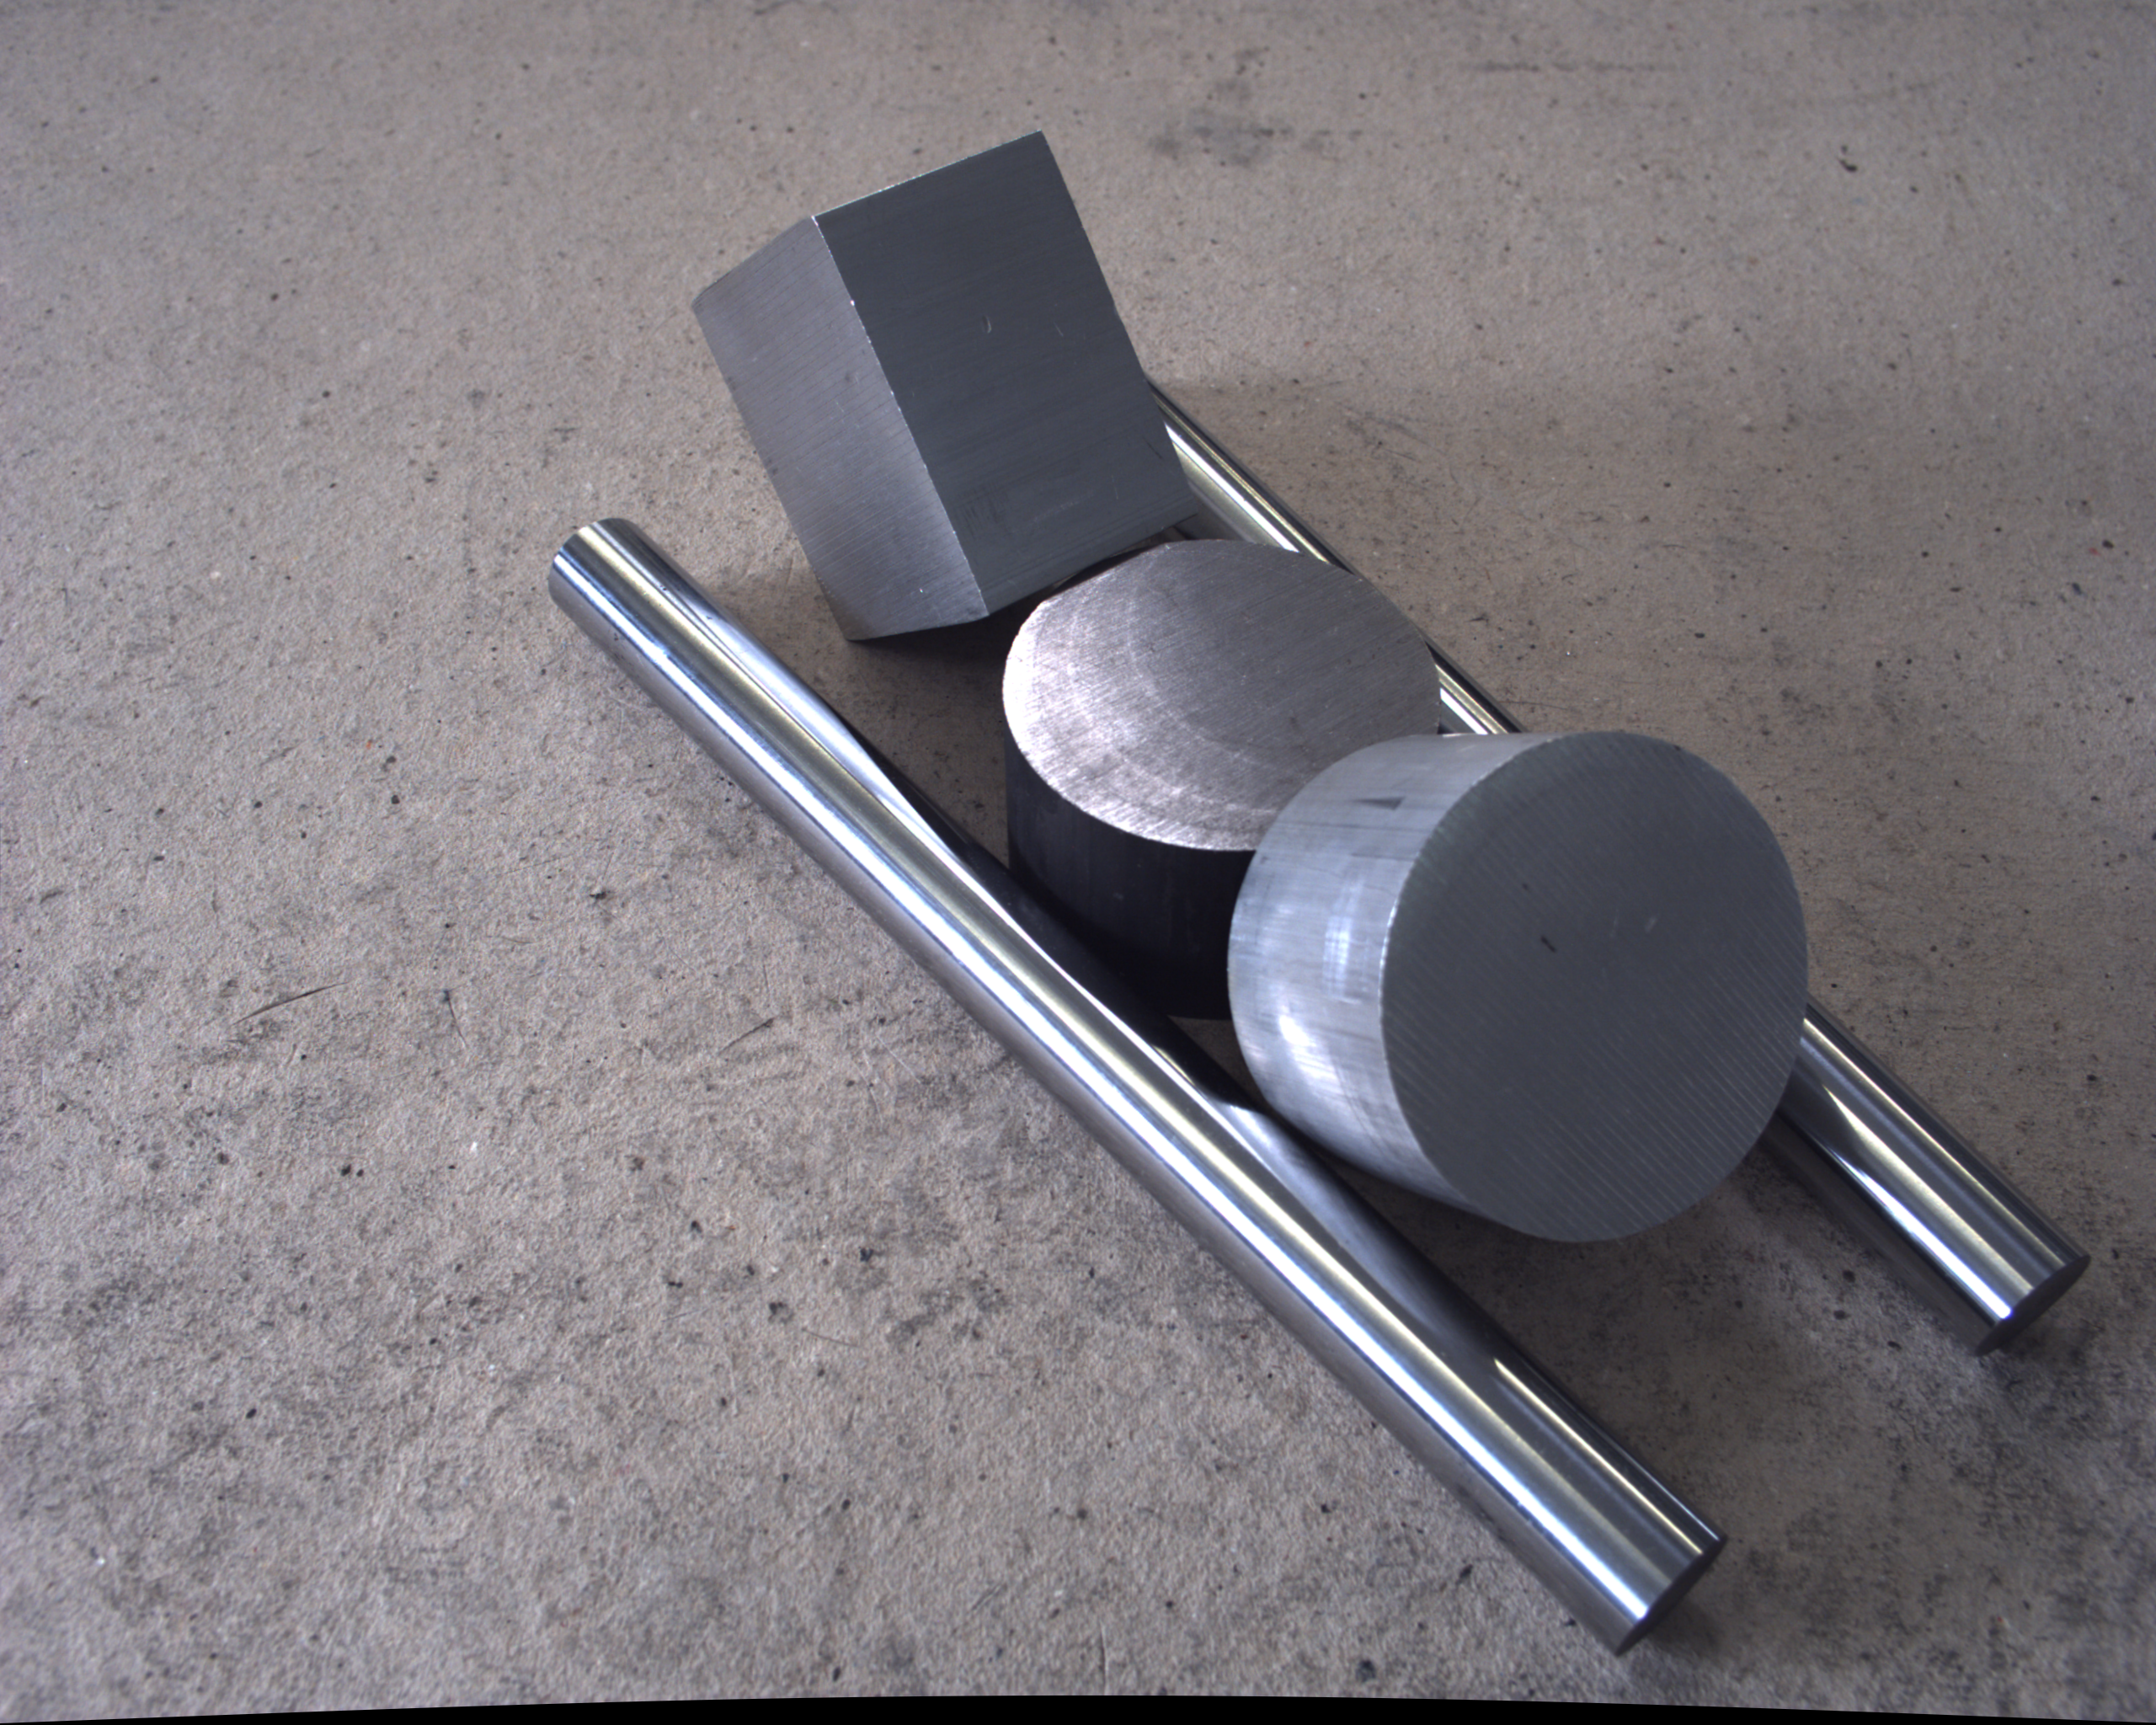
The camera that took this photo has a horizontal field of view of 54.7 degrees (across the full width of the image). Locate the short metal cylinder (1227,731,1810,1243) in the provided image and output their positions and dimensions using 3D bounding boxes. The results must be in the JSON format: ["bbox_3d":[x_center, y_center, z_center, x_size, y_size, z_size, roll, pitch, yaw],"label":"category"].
[{"bbox_3d":[0.072,0.018,0.346,0.081,0.080,0.050,-25,12,-20],"label":"short metal cylinder"}]

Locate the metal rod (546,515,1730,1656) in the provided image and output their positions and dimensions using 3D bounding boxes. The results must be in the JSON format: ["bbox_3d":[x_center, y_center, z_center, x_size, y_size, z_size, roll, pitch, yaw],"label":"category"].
[{"bbox_3d":[-0.008,0.022,0.385,0.025,0.025,0.300,-33,58,-25],"label":"metal rod"}]

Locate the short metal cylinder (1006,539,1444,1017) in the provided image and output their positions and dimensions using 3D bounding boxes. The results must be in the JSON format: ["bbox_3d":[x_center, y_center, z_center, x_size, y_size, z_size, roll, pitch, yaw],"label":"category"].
[{"bbox_3d":[0.027,-0.017,0.403,0.081,0.050,0.080,0,50,0],"label":"short metal cylinder"}]

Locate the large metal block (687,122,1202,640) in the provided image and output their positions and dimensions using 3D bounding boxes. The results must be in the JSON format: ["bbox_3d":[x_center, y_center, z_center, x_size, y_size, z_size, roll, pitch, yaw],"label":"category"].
[{"bbox_3d":[-0.029,-0.094,0.428,0.050,0.080,0.080,-29,14,-23],"label":"large metal block"}]

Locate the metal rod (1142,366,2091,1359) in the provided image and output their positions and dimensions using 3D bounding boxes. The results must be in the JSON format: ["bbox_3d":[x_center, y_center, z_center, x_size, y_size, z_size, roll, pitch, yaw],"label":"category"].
[{"bbox_3d":[0.077,-0.024,0.425,0.025,0.025,0.300,-26,55,-20],"label":"metal rod"}]
